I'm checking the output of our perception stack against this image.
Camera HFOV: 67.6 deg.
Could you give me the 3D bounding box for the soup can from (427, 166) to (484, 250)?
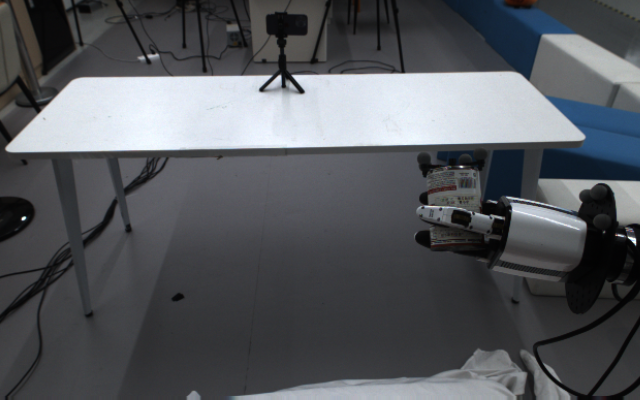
[{"bbox_3d":[0.173,0.013,0.615,0.067,0.101,0.067,-1,-9,0],"label":"soup can"}]
